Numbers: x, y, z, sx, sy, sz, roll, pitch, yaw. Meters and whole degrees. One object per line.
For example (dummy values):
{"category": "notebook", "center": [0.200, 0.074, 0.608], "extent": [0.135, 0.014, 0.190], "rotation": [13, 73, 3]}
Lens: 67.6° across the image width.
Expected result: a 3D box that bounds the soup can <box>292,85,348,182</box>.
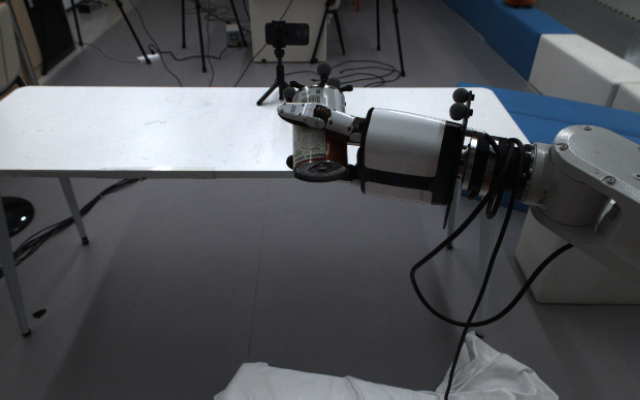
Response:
{"category": "soup can", "center": [0.001, -0.081, 0.591], "extent": [0.067, 0.067, 0.101], "rotation": [-1, 71, -5]}
